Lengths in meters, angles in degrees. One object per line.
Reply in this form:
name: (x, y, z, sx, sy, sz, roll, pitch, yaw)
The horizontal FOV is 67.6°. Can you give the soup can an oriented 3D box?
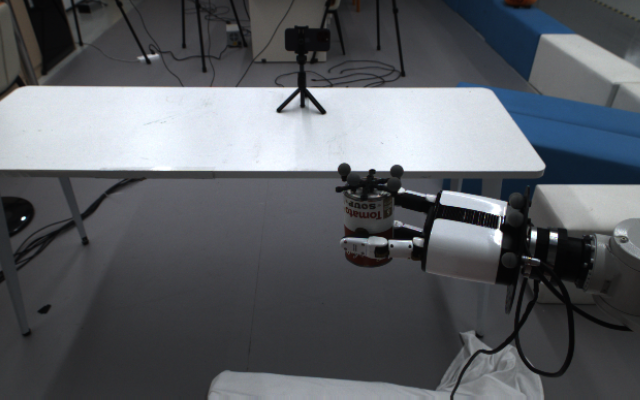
soup can: (0.067, 0.028, 0.645, 0.067, 0.101, 0.067, -3, 27, 2)
